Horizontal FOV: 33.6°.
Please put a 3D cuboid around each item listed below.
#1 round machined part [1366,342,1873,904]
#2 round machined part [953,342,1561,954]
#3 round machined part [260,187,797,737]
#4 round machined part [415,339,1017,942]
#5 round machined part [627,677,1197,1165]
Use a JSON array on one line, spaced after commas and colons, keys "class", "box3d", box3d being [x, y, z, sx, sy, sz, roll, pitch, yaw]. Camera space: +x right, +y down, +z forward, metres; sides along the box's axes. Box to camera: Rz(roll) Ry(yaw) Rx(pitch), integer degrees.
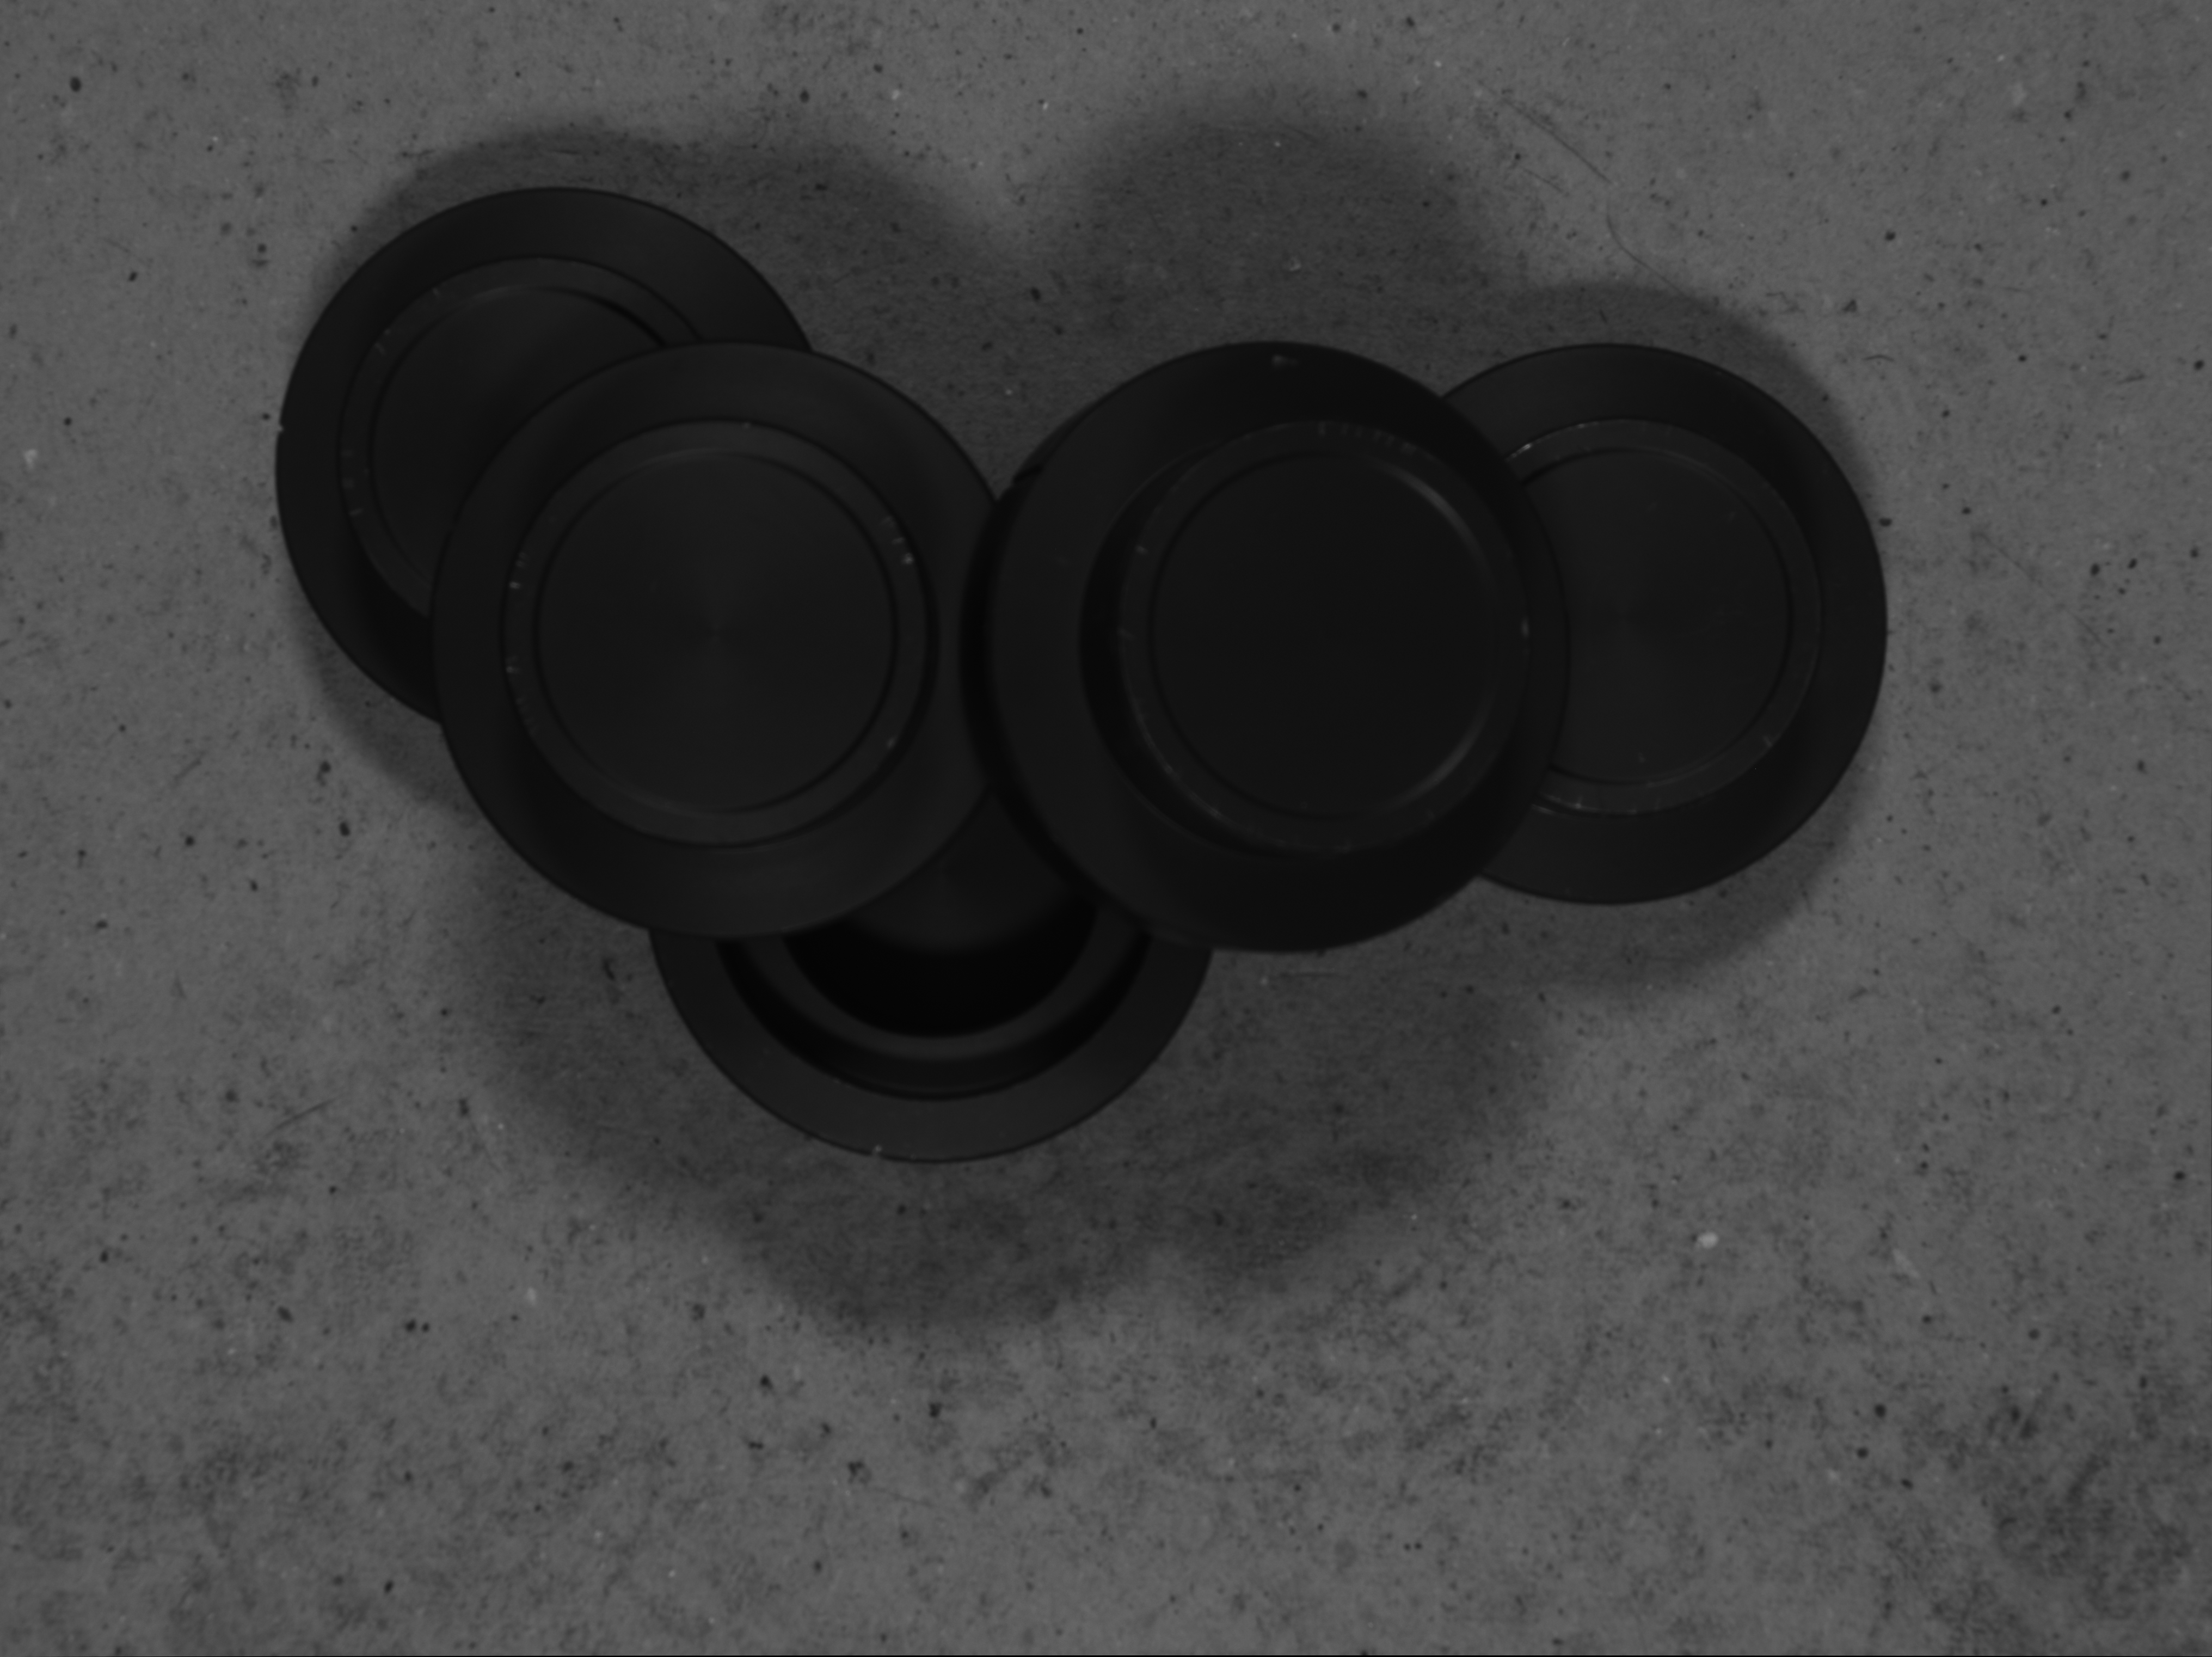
[{"class": "round machined part", "box3d": [0.085, -0.036, 0.637, 0.098, 0.042, 0.098, 0, 90, 0]}, {"class": "round machined part", "box3d": [0.027, -0.029, 0.585, 0.098, 0.042, 0.098, 0, 88, -14]}, {"class": "round machined part", "box3d": [-0.098, -0.062, 0.635, 0.098, 0.042, 0.098, 0, 90, 0]}, {"class": "round machined part", "box3d": [-0.063, -0.030, 0.594, 0.098, 0.042, 0.098, 0, 90, 0]}, {"class": "round machined part", "box3d": [-0.032, 0.008, 0.636, 0.098, 0.042, 0.098, 0, 90, 0]}]
